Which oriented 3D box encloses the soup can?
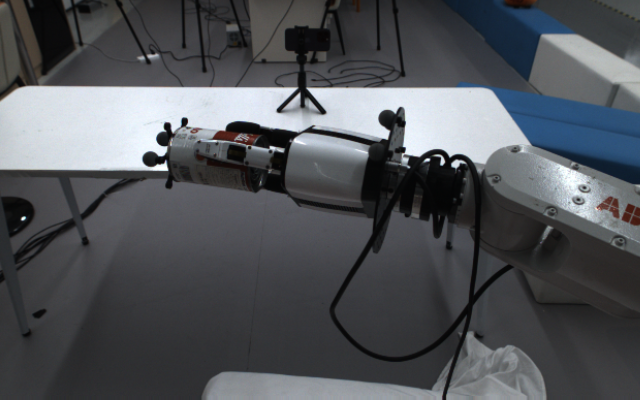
[{"bbox_3d":[-0.116,-0.048,0.569,0.101,0.067,0.067,8,35,11],"label":"soup can"}]
